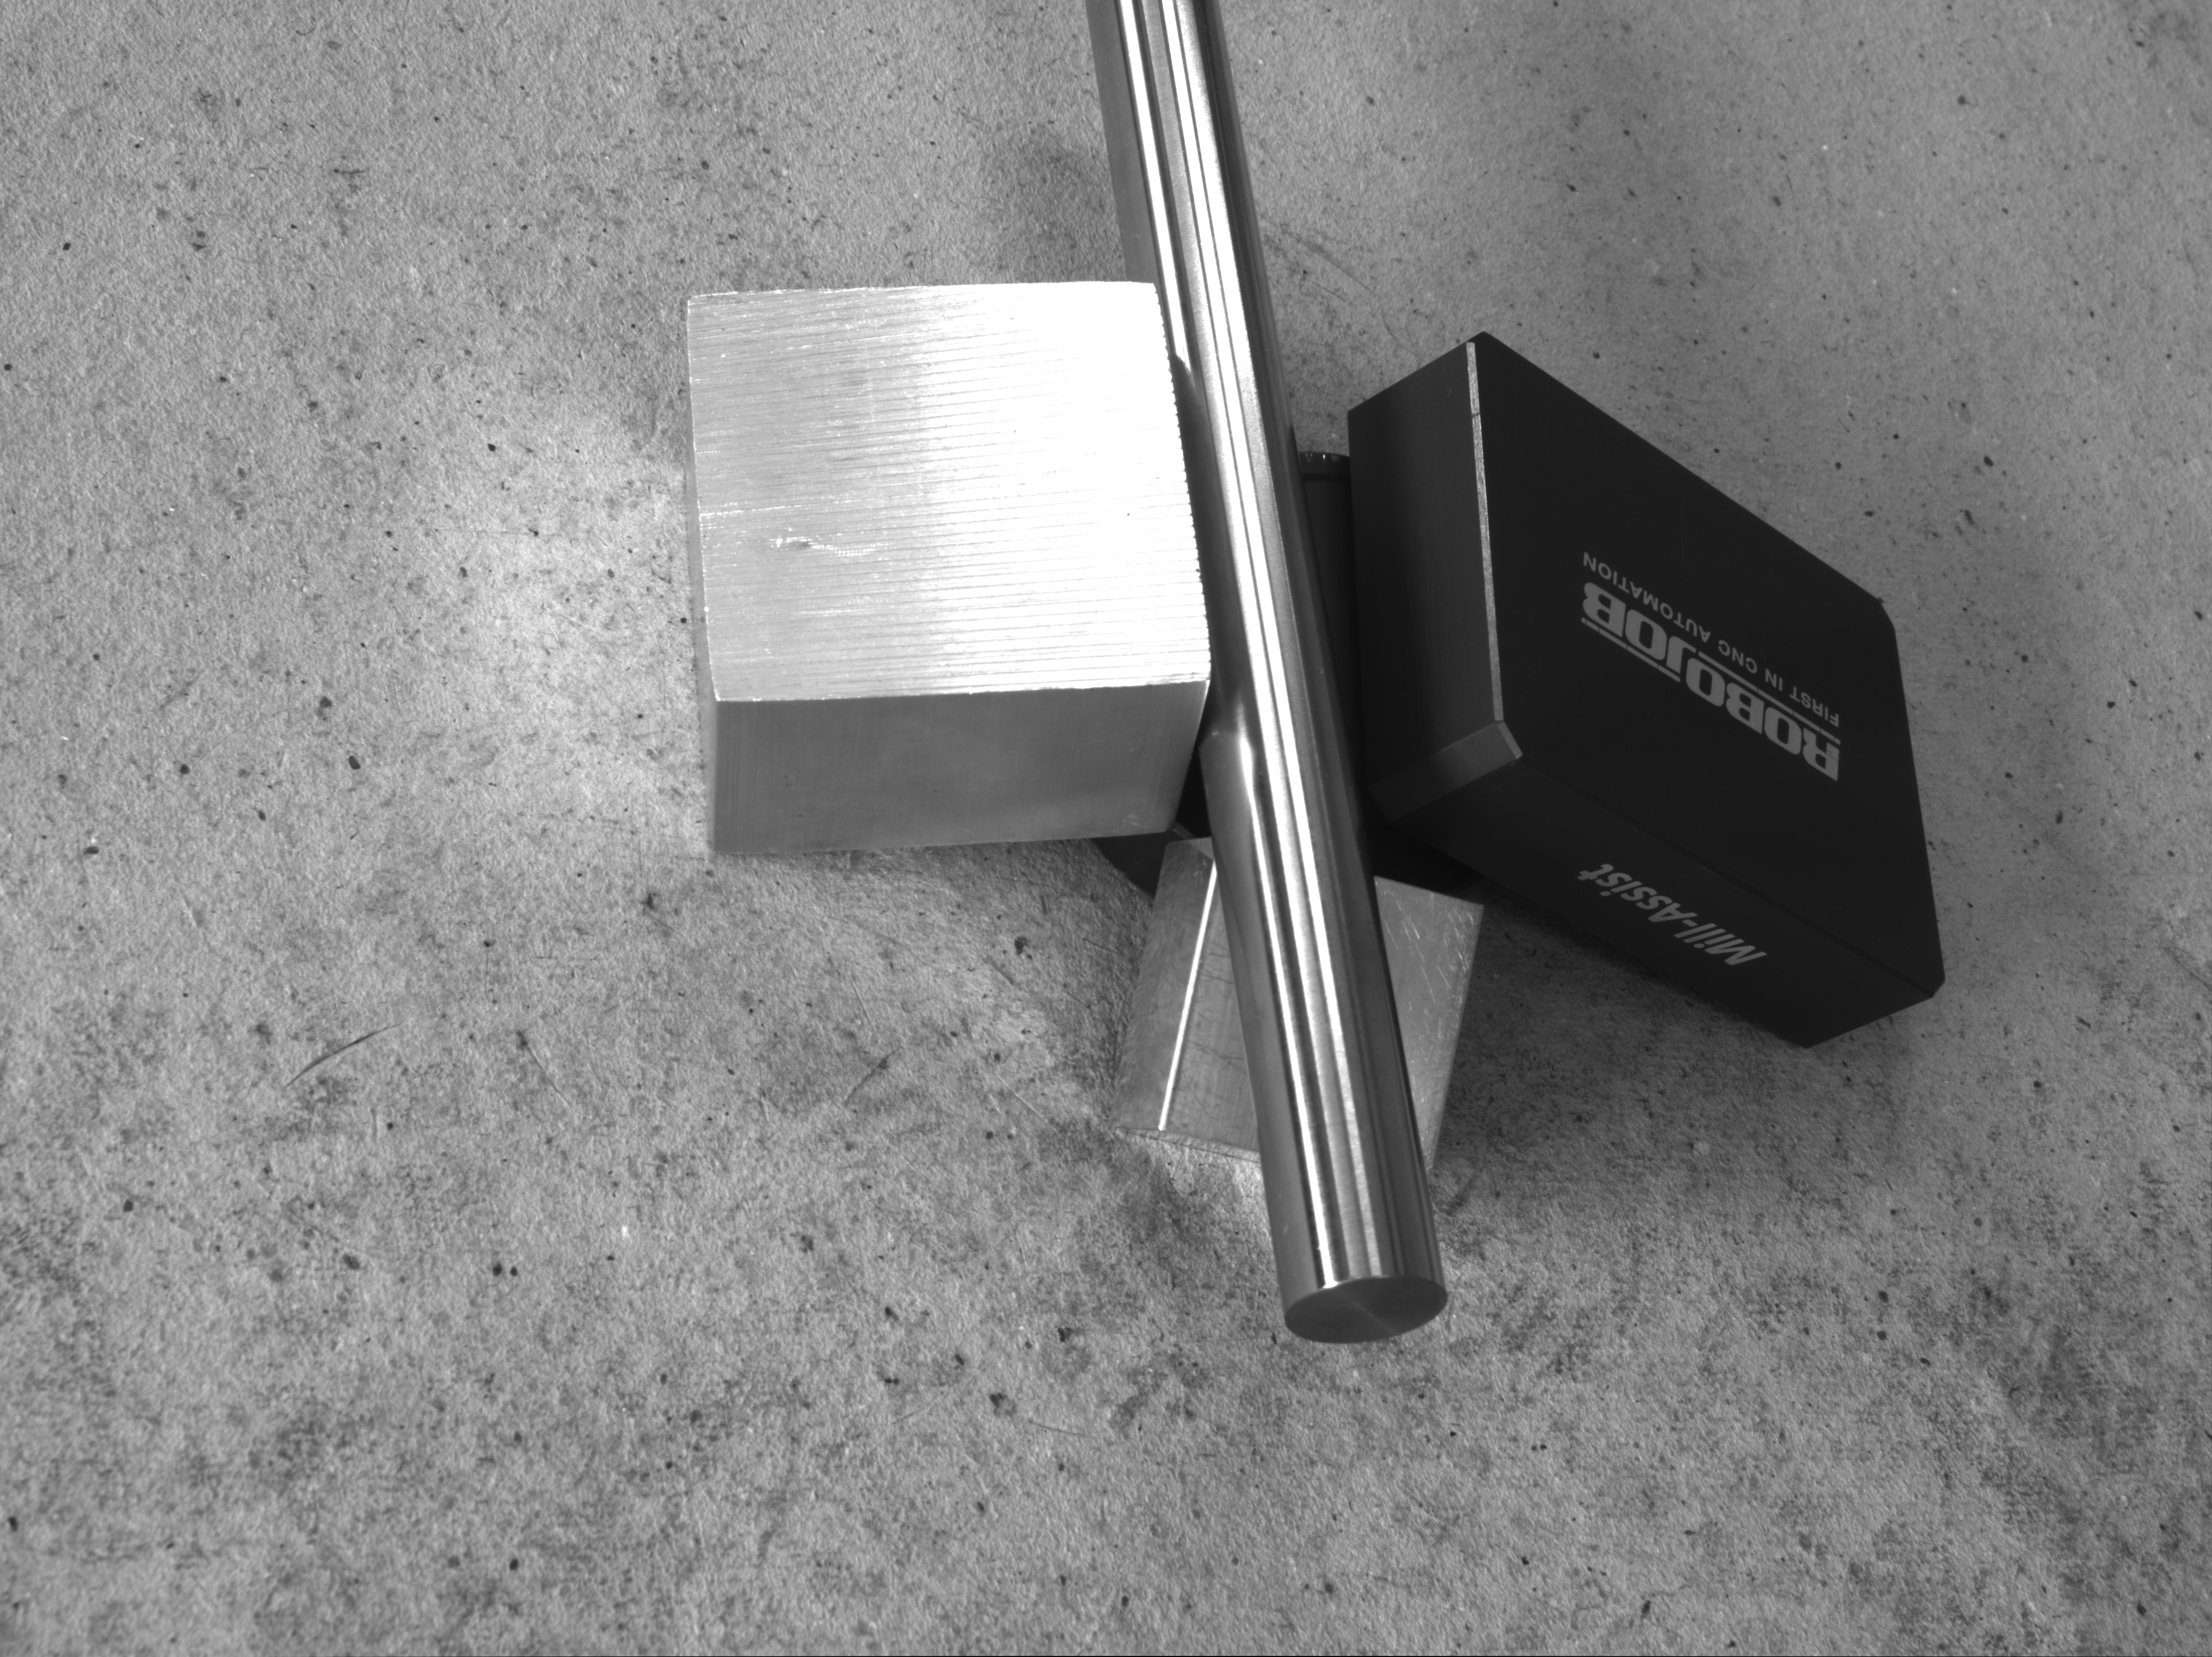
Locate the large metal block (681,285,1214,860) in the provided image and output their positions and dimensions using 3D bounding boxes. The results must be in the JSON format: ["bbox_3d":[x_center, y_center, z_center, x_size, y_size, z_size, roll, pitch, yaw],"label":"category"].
[{"bbox_3d":[-0.029,-0.044,0.621,0.080,0.050,0.080,-2,61,-9],"label":"large metal block"}]

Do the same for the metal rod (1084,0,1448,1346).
[{"bbox_3d":[0.022,-0.055,0.631,0.025,0.025,0.300,8,56,-24],"label":"metal rod"}]

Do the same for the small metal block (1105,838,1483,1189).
[{"bbox_3d":[0.032,0.032,0.625,0.050,0.025,0.050,14,81,-19],"label":"small metal block"}]

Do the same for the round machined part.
[{"bbox_3d":[0.038,-0.029,0.666,0.098,0.042,0.098,13,56,-21],"label":"round machined part"}]

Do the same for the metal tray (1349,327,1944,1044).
[{"bbox_3d":[0.100,-0.024,0.676,0.130,0.030,0.090,26,50,-38],"label":"metal tray"}]
